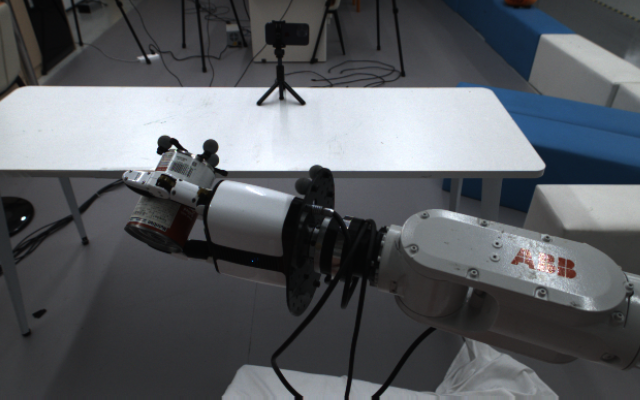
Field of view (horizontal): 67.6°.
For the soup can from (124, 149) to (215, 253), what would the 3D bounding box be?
[{"bbox_3d":[-0.169,0.002,0.558,0.067,0.067,0.101,12,66,14],"label":"soup can"}]
